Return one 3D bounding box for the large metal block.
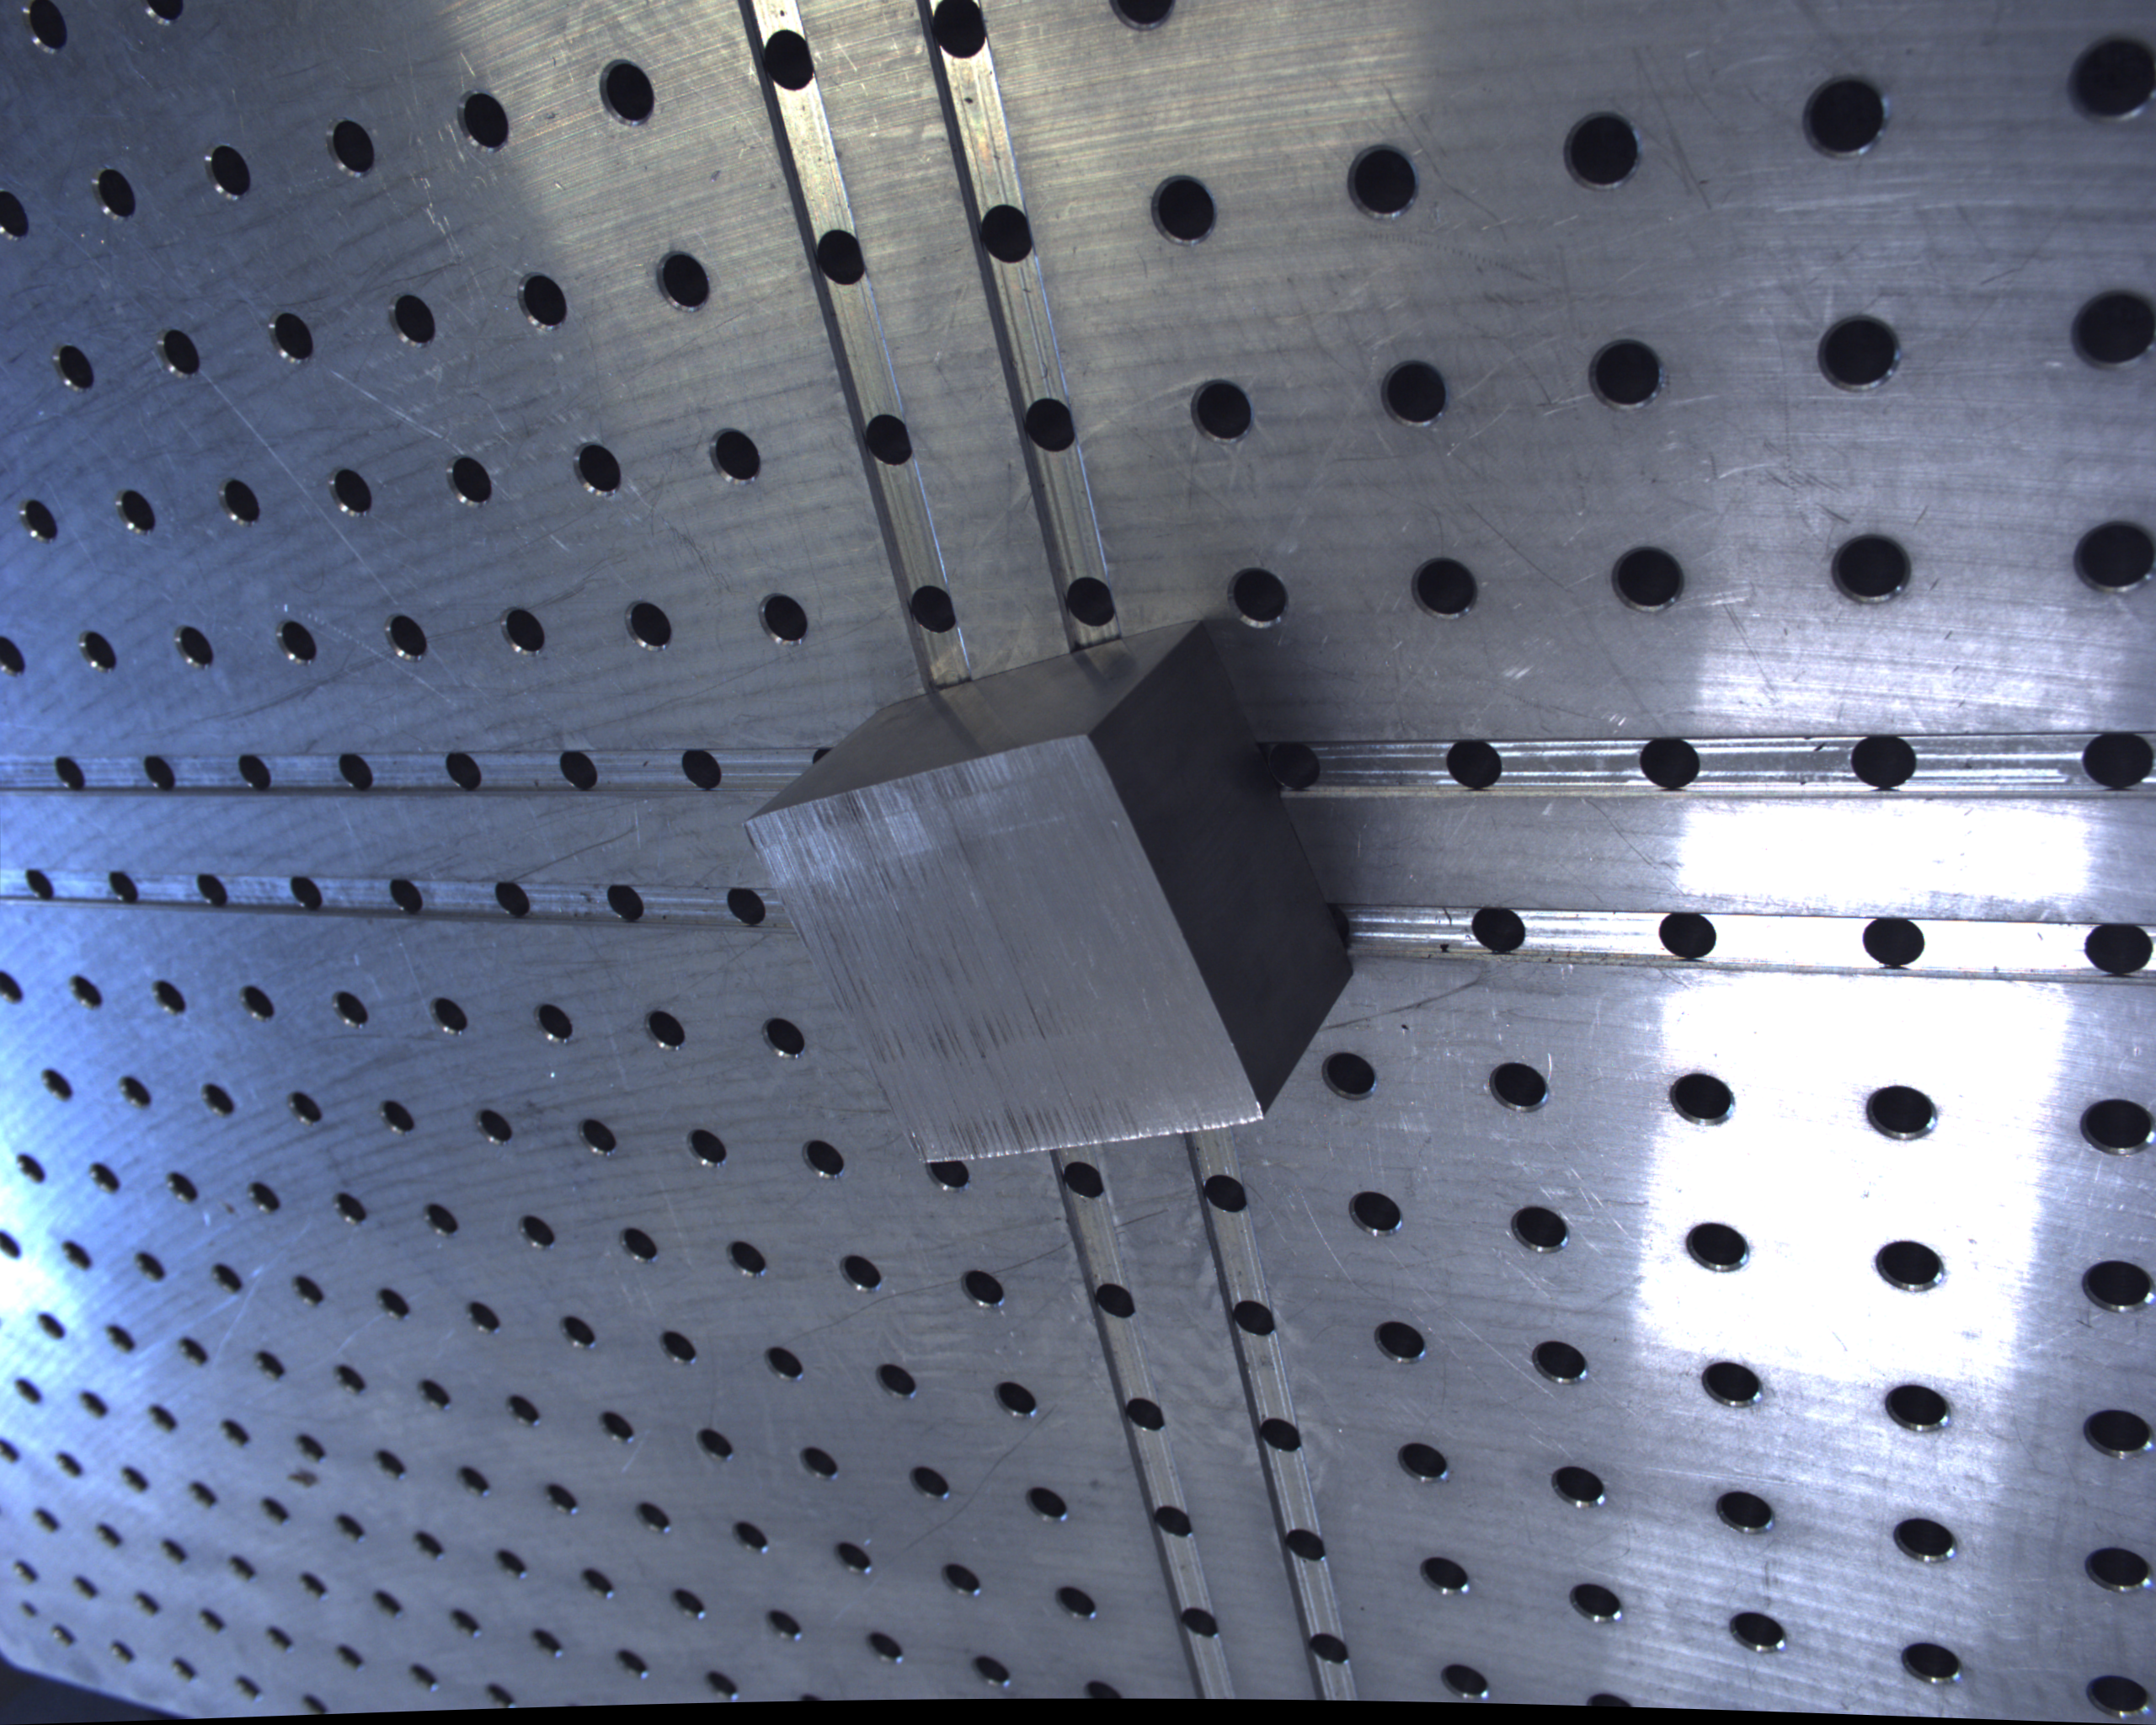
[{"bbox_3d":[-0.005,0.008,0.402,0.080,0.050,0.080,-13,112,33],"label":"large metal block"}]
